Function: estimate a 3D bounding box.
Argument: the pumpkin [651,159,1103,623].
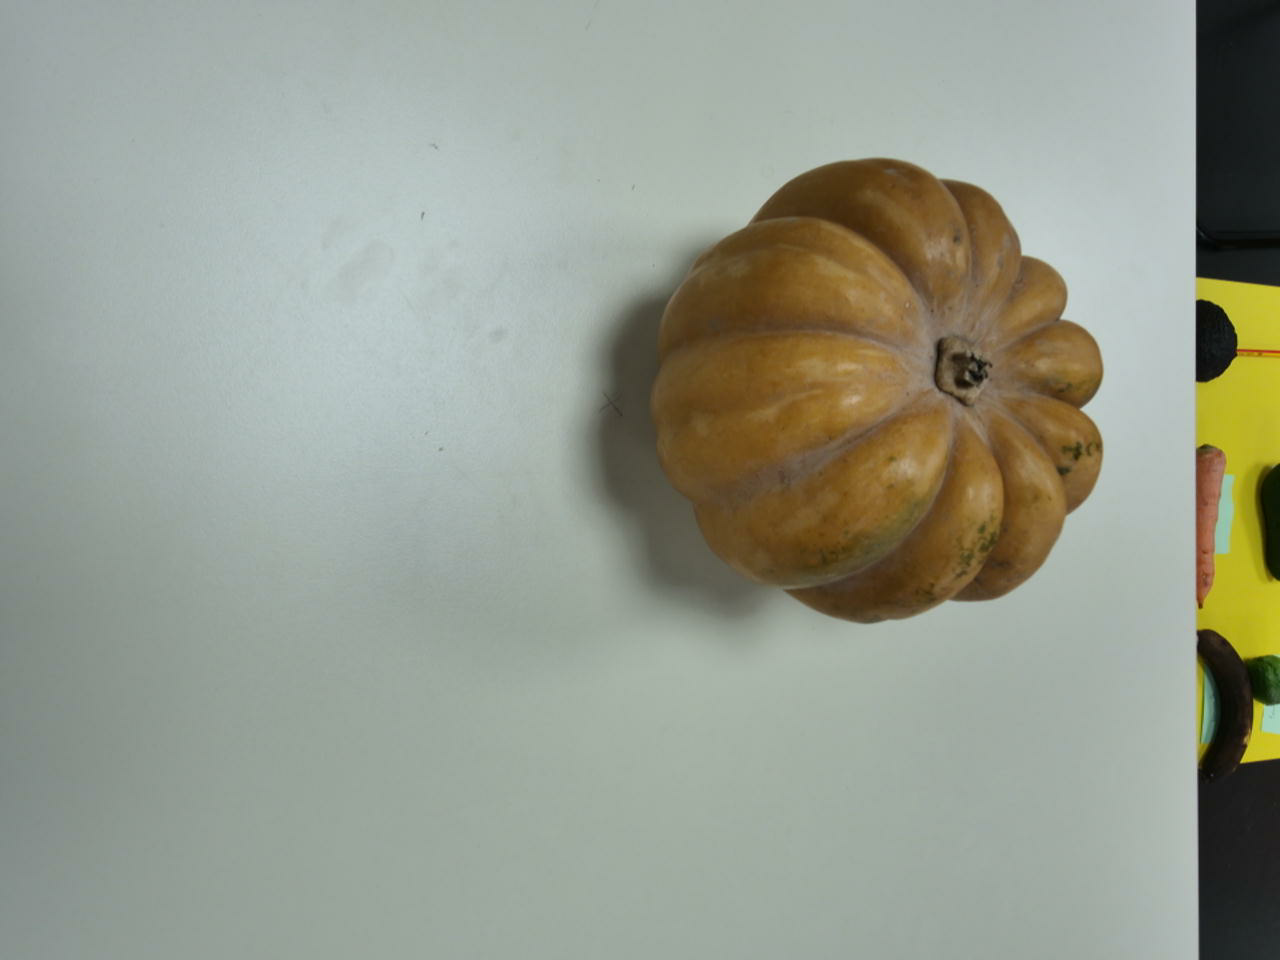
[{"bbox_3d":[0.114,-0.040,0.510,0.230,0.194,0.230,0,91,-22],"label":"pumpkin"}]
